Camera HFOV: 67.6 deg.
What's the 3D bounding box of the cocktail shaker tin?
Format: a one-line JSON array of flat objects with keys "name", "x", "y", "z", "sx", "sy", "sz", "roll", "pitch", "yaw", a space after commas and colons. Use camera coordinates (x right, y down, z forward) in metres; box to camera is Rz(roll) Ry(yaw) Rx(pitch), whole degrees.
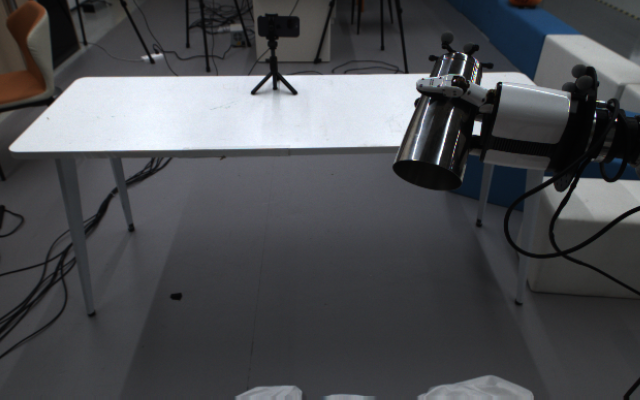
[{"name": "cocktail shaker tin", "x": 0.166, "y": -0.109, "z": 0.651, "sx": 0.093, "sy": 0.093, "sz": 0.170, "roll": 15, "pitch": 75, "yaw": 18}]
